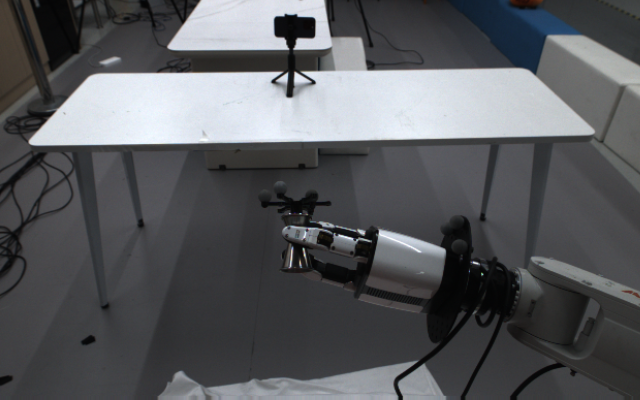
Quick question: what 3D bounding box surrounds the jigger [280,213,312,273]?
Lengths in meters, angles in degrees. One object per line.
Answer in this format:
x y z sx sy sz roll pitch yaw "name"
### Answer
-0.028 0.053 0.599 0.043 0.043 0.071 0 75 -3 "jigger"
